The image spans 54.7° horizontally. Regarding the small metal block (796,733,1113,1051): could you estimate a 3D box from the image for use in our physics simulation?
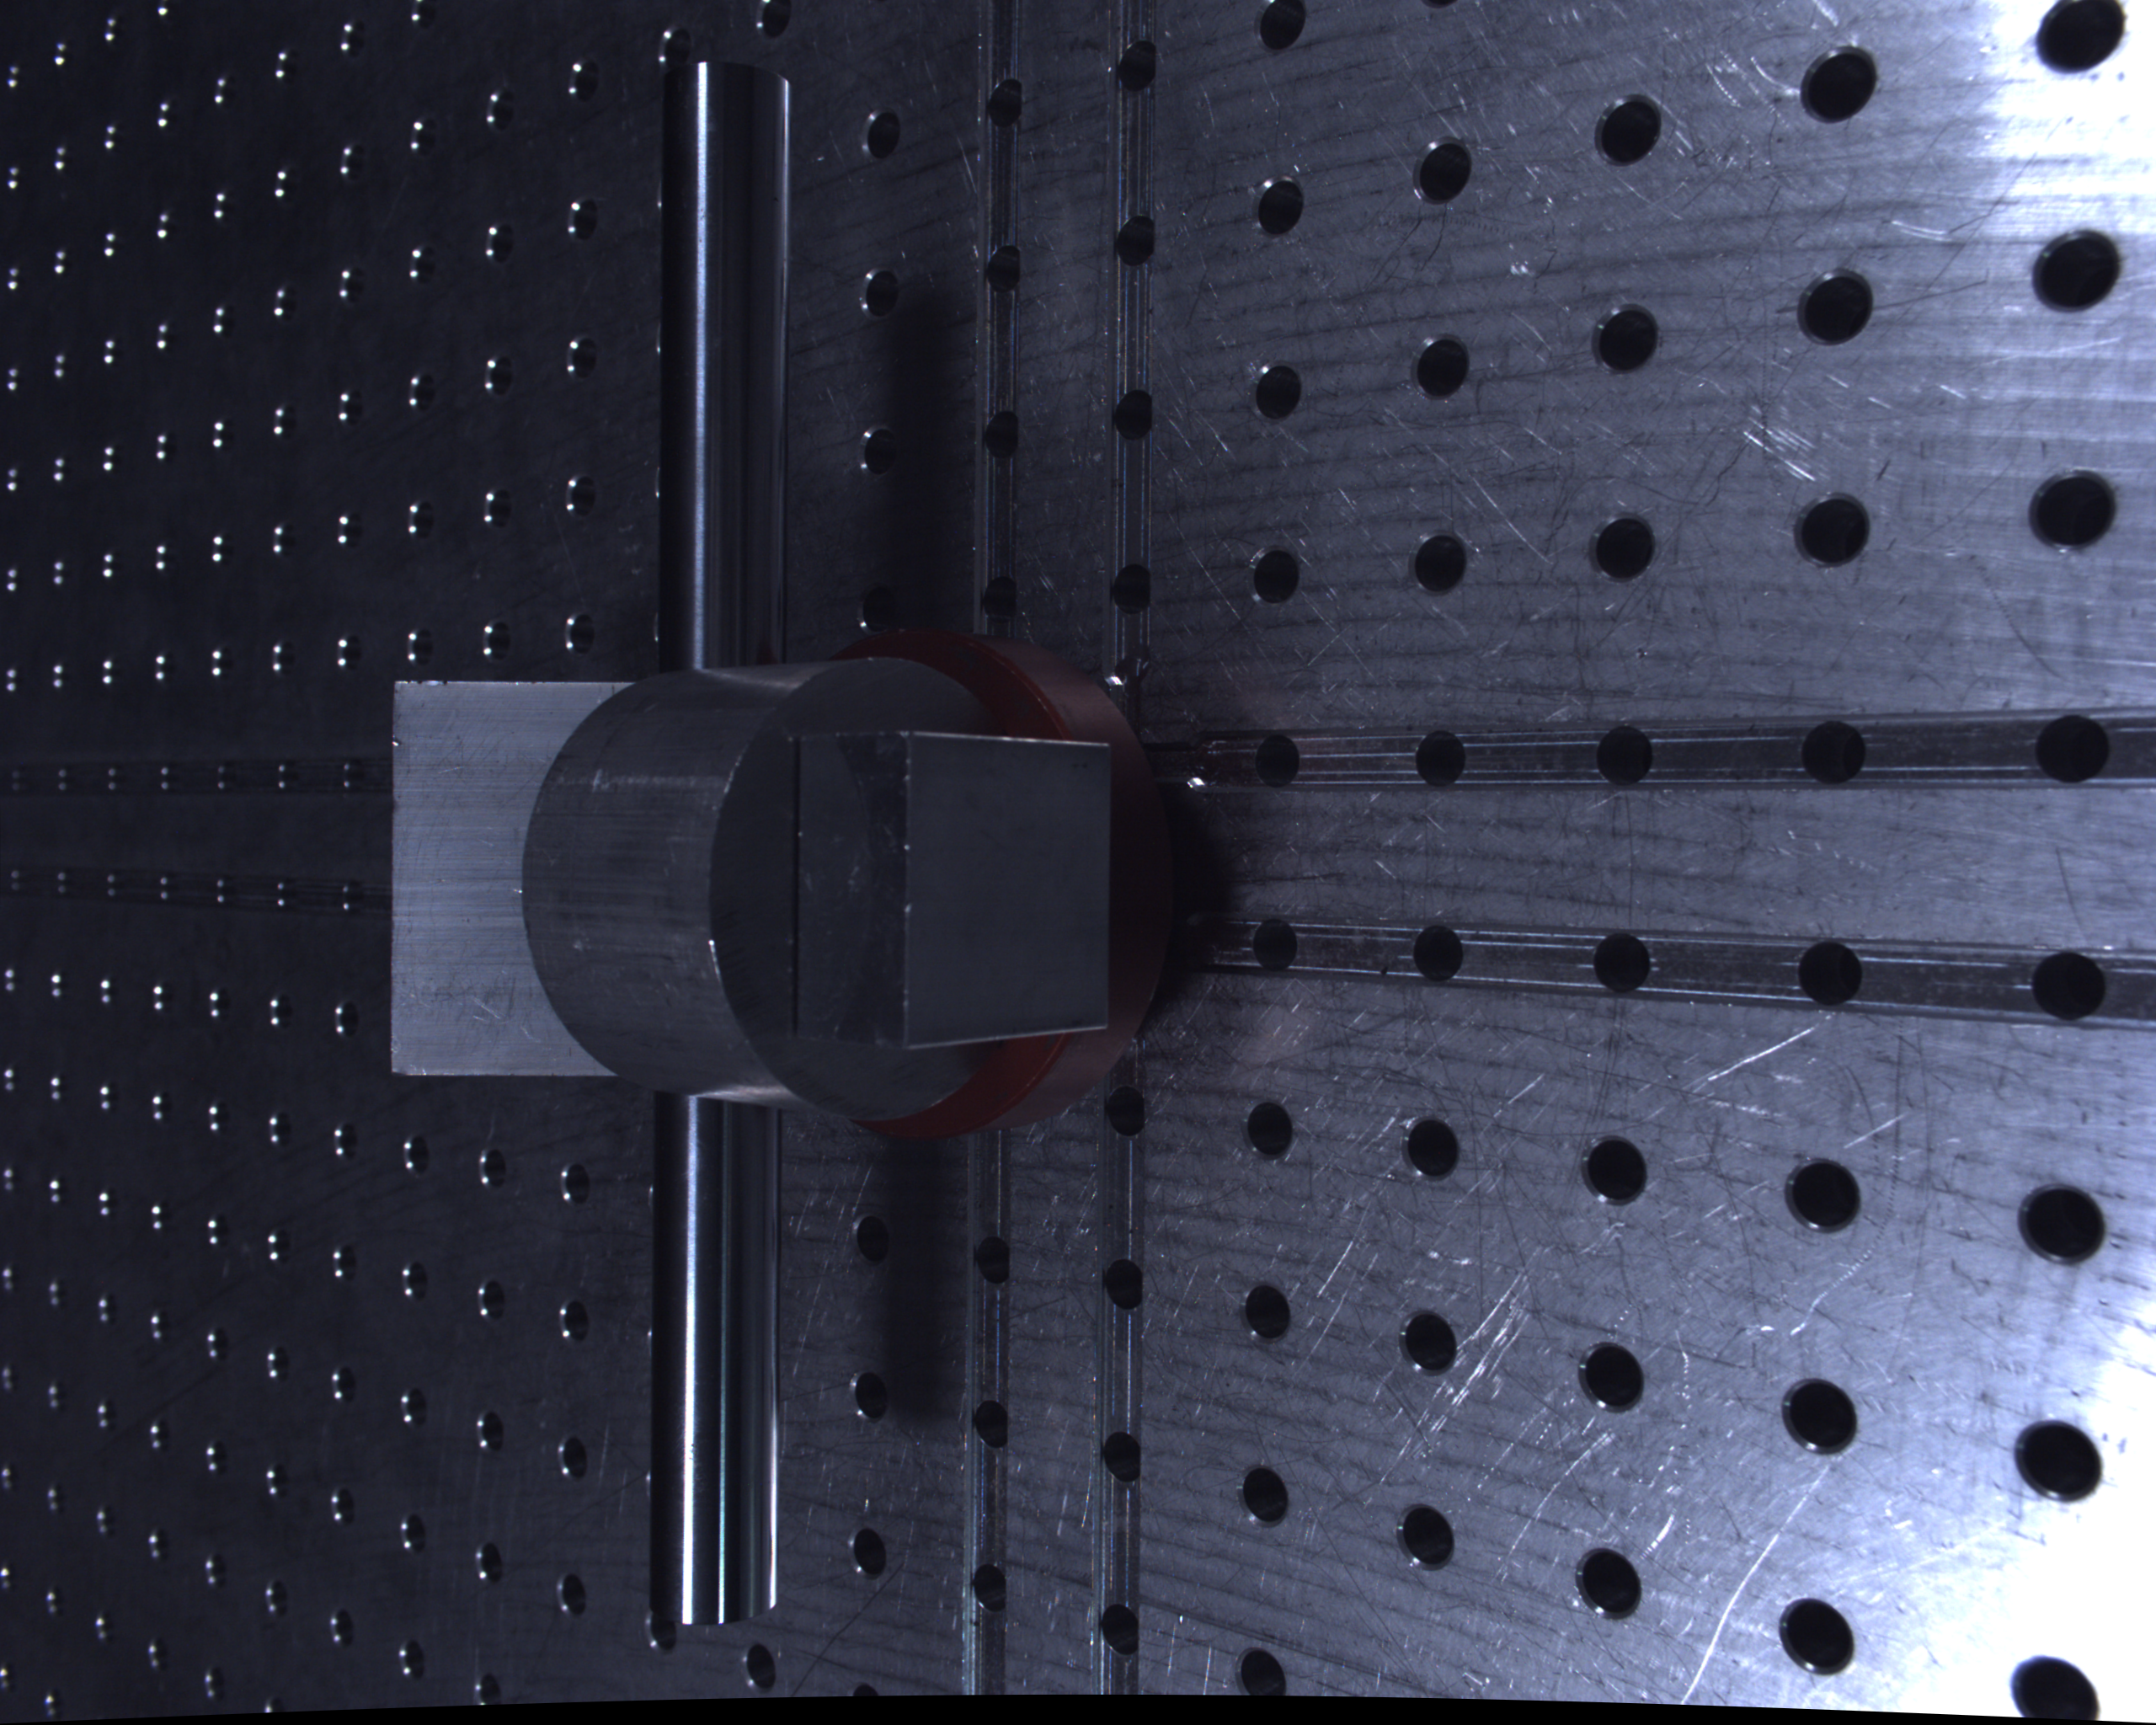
[{"bbox_3d":[-0.020,0.004,0.353,0.025,0.050,0.050,2,91,40],"label":"small metal block"}]

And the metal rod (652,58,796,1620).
[{"bbox_3d":[-0.070,-0.004,0.410,0.025,0.025,0.298,1,91,39],"label":"metal rod"}]

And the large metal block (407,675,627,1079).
[{"bbox_3d":[-0.108,0.002,0.452,0.050,0.080,0.079,1,91,-1],"label":"large metal block"}]

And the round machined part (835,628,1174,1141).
[{"bbox_3d":[-0.020,0.004,0.411,0.098,0.042,0.097,0,90,39],"label":"round machined part"}]

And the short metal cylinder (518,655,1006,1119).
[{"bbox_3d":[-0.051,0.004,0.374,0.050,0.081,0.079,1,91,40],"label":"short metal cylinder"}]
